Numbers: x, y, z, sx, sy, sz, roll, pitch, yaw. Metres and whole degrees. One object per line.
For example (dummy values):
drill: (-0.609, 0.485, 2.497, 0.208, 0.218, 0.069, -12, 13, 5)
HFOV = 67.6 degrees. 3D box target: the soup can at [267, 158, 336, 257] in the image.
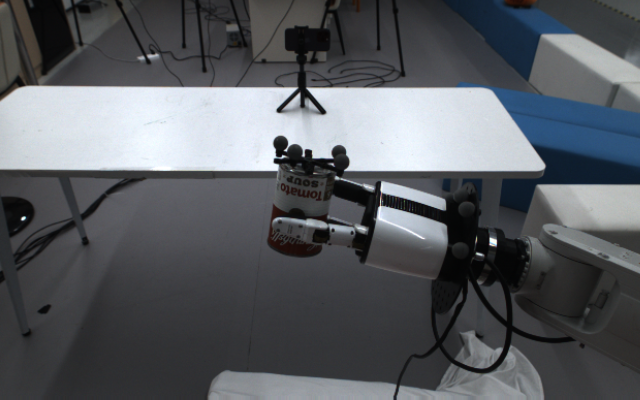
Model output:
soup can: (-0.020, 0.006, 0.570, 0.067, 0.101, 0.067, 9, 20, -3)
